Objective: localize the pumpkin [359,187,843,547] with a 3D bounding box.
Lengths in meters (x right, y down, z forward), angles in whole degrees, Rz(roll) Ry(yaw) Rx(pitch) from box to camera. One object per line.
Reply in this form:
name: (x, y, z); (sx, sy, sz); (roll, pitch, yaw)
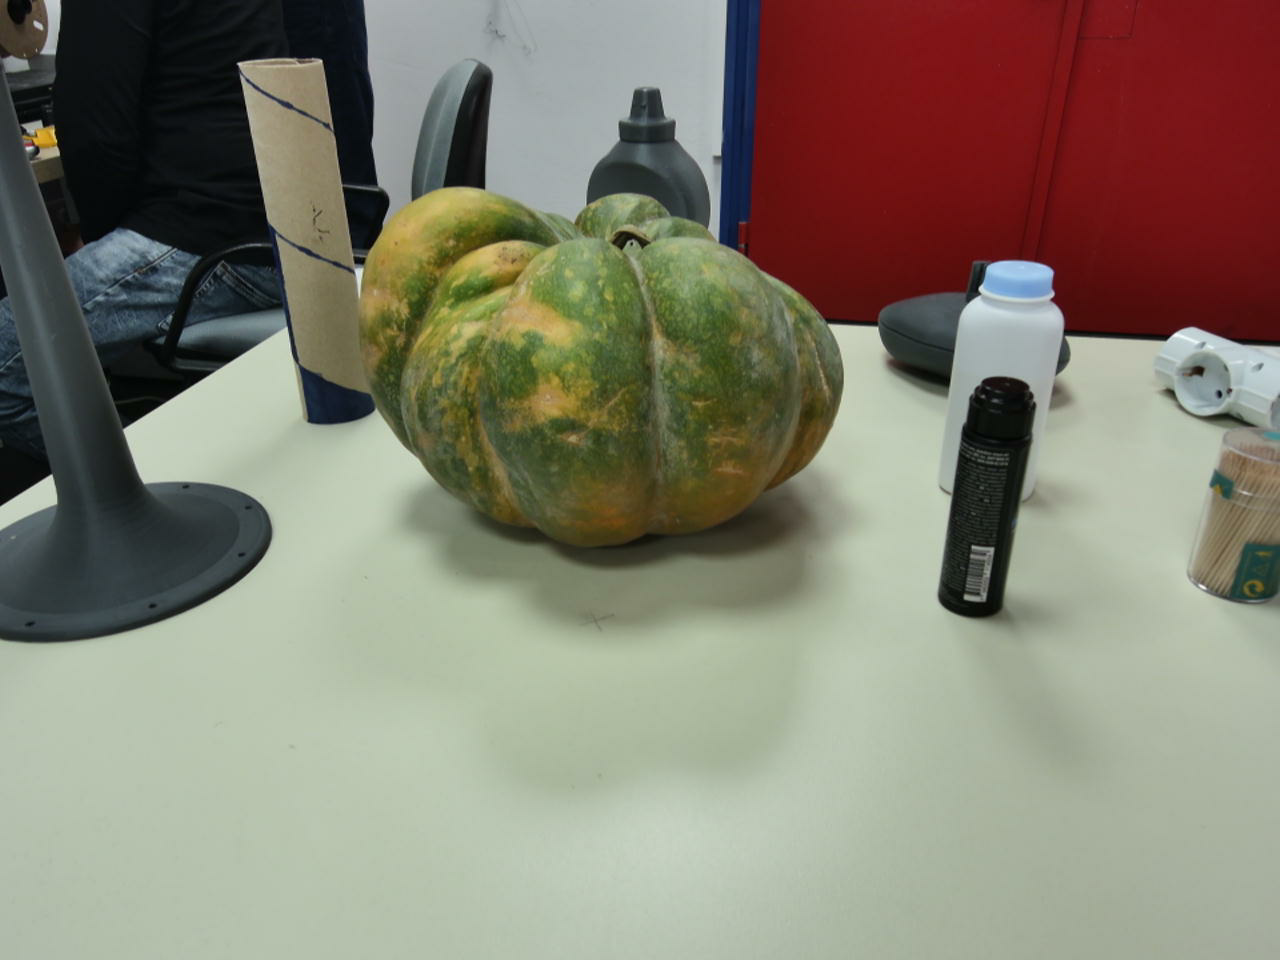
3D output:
pumpkin: (-0.021, -0.070, 0.545); (0.237, 0.173, 0.270); (-20, 32, -36)
